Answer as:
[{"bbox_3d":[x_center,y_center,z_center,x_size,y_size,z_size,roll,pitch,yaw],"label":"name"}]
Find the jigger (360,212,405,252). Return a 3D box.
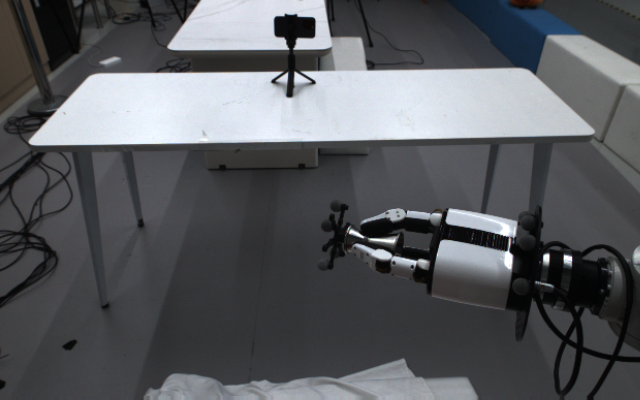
[{"bbox_3d":[0.075,0.053,0.625,0.071,0.043,0.043,10,35,22],"label":"jigger"}]
